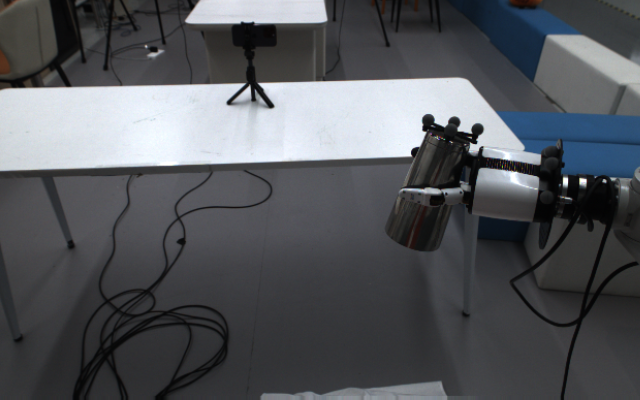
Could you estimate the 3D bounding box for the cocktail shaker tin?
[{"bbox_3d":[0.169,-0.021,0.741,0.093,0.170,0.093,12,24,-5],"label":"cocktail shaker tin"}]
